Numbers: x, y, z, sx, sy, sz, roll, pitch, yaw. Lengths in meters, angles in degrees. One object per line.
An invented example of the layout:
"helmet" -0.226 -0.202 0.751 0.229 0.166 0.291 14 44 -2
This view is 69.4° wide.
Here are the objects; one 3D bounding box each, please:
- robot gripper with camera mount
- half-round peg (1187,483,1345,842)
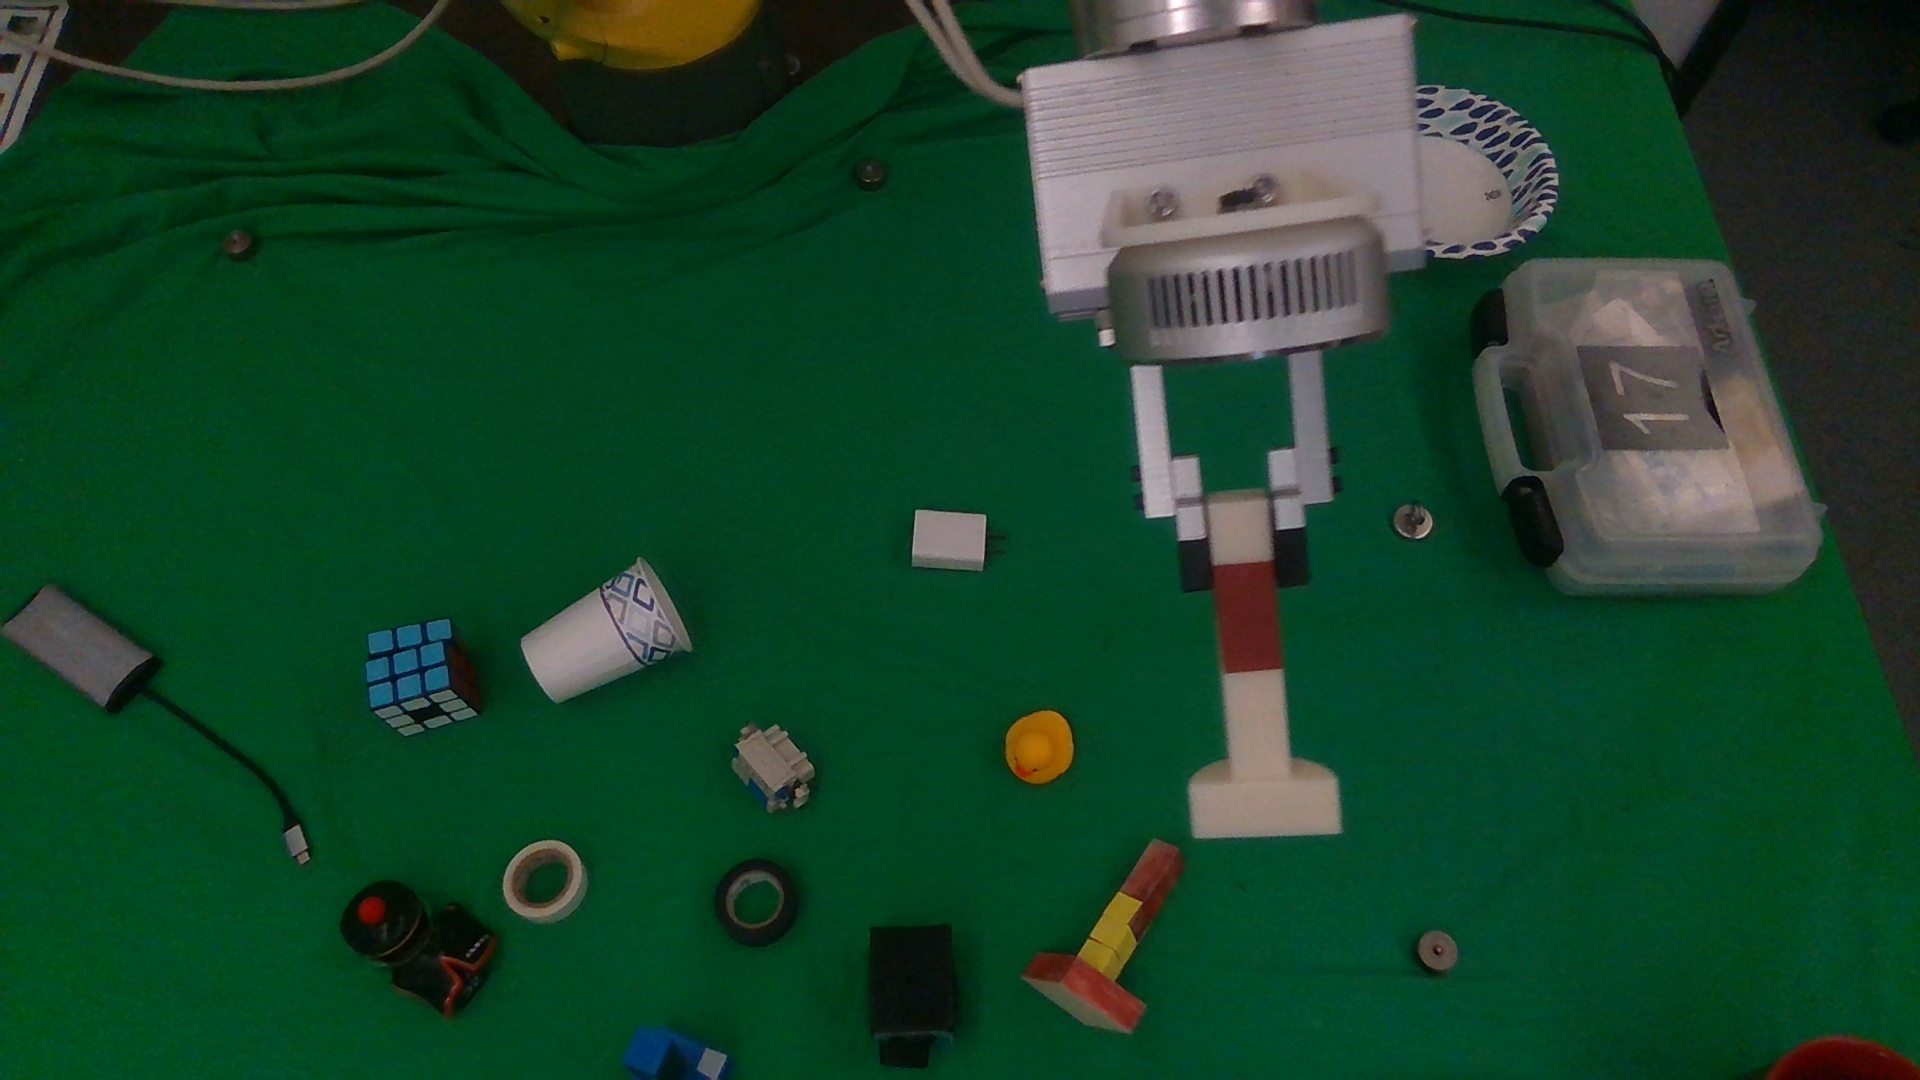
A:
"robot gripper with camera mount" 0.084 -0.054 0.385 0.119 0.193 0.158 -4 102 9
"half-round peg" 0.098 0.041 0.471 0.054 0.031 0.122 -8 106 0
